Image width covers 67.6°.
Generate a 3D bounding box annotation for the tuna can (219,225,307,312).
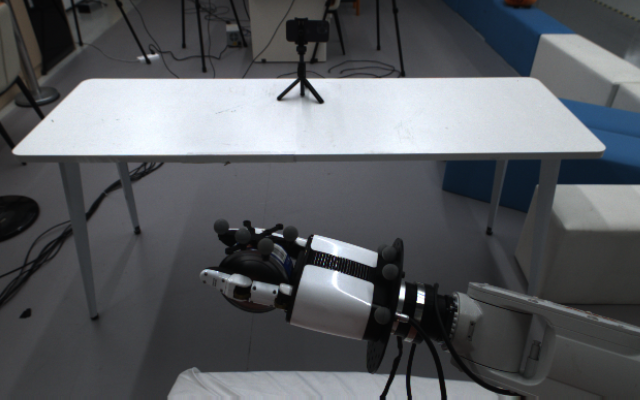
[{"bbox_3d":[-0.071,0.088,0.566,0.085,0.085,0.034,6,22,6],"label":"tuna can"}]
